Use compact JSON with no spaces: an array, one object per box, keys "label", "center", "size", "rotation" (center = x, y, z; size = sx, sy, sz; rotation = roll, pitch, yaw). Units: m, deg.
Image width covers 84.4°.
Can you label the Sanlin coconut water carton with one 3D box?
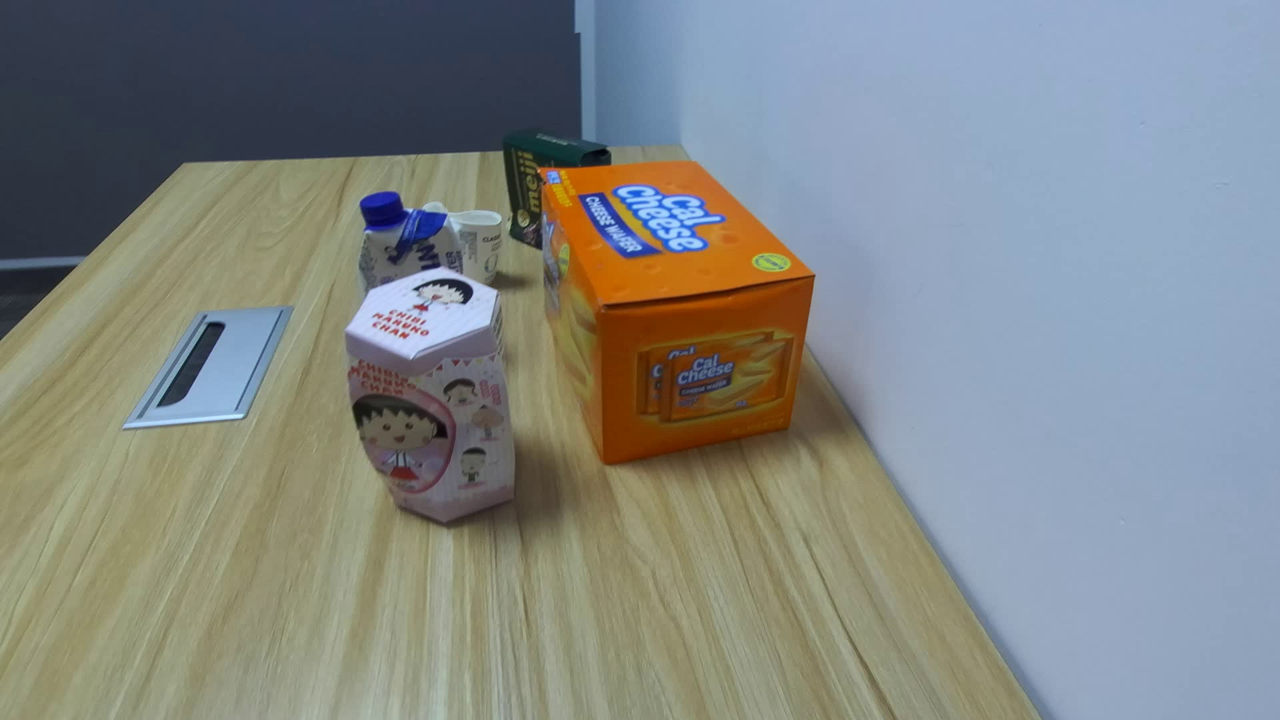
[{"label":"Sanlin coconut water carton","center":[-0.172,-0.054,0.538],"size":[0.068,0.145,0.056],"rotation":[6,41,-2]}]

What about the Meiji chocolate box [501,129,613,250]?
[{"label":"Meiji chocolate box","center":[-0.084,-0.171,0.728],"size":[0.115,0.123,0.059],"rotation":[24,42,32]}]

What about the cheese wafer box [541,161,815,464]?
[{"label":"cheese wafer box","center":[0.012,-0.053,0.545],"size":[0.150,0.137,0.226],"rotation":[-9,37,-14]}]

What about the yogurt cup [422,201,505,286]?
[{"label":"yogurt cup","center":[-0.167,-0.110,0.674],"size":[0.075,0.071,0.053],"rotation":[0,36,-2]}]
